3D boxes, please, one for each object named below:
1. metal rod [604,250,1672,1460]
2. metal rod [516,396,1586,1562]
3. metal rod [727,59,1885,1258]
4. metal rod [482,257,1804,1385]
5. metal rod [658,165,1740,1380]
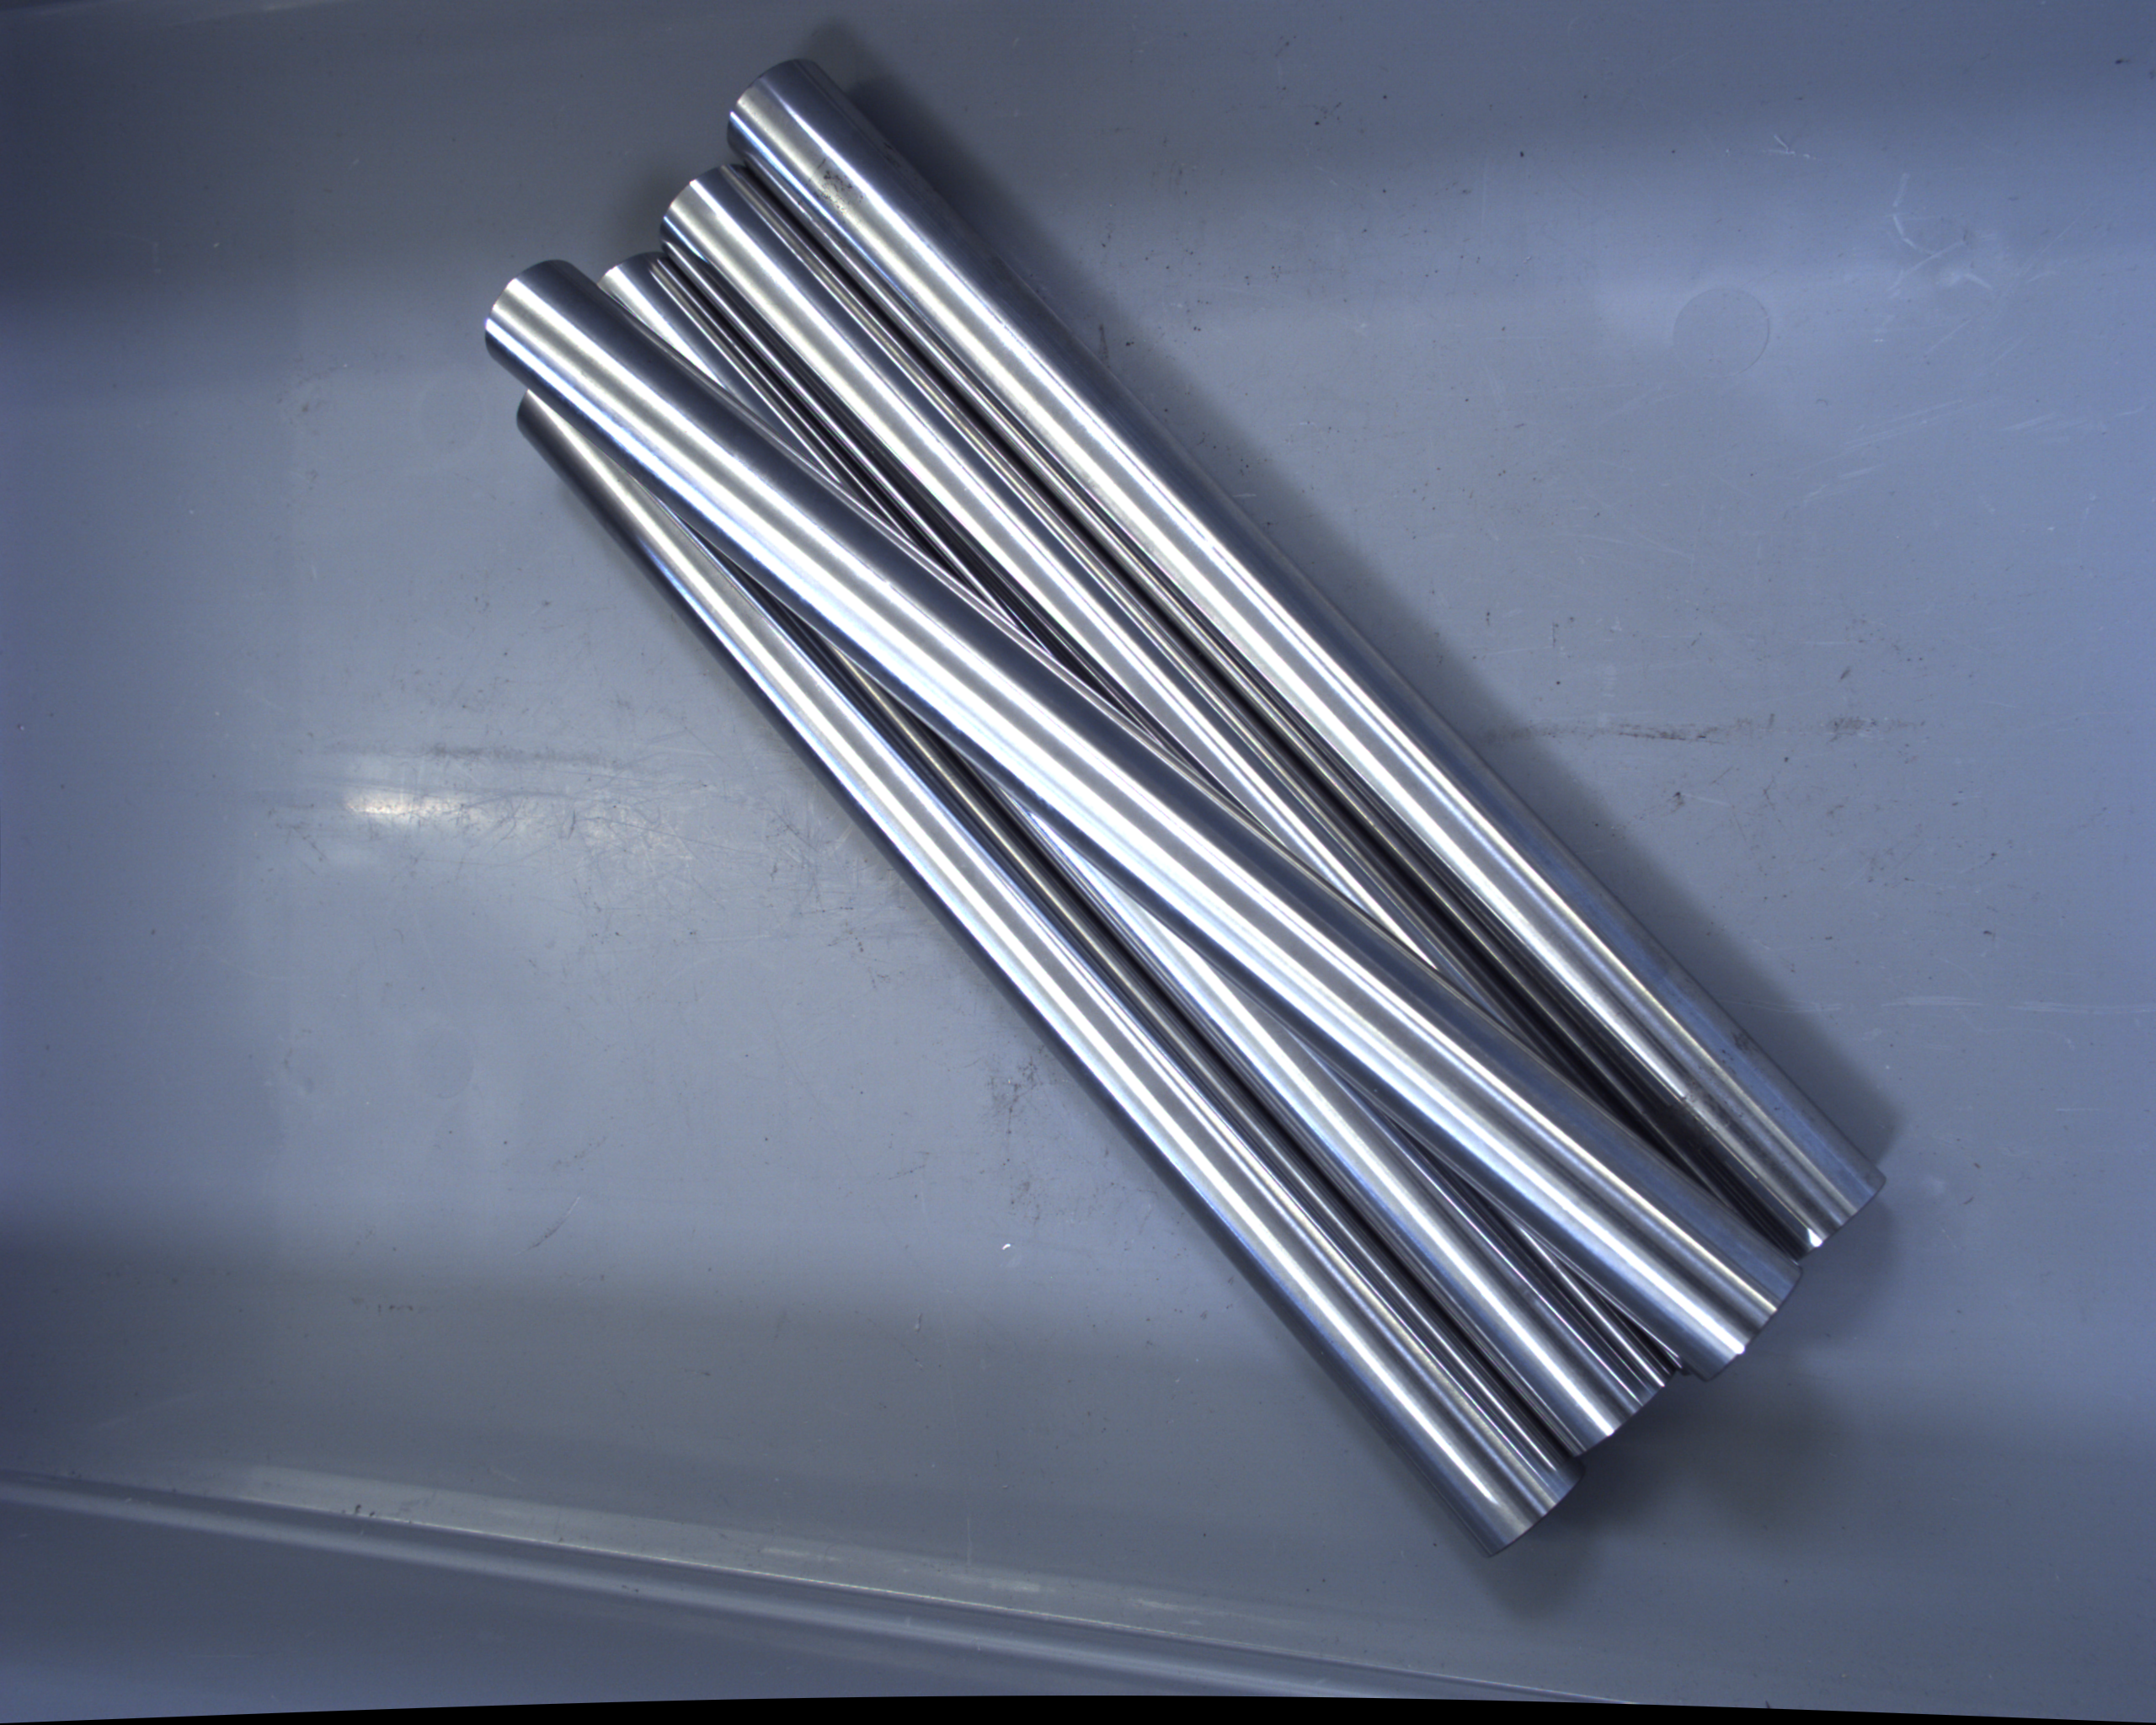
[{"bbox_3d":[0.001,-0.011,0.409,0.025,0.025,0.300,-45,76,14],"label":"metal rod"},{"bbox_3d":[-0.013,0.009,0.414,0.025,0.025,0.300,-45,76,14],"label":"metal rod"},{"bbox_3d":[0.034,-0.046,0.397,0.025,0.025,0.300,-45,76,14],"label":"metal rod"},{"bbox_3d":[0.000,-0.017,0.382,0.300,0.025,0.025,40,103,15],"label":"metal rod"},{"bbox_3d":[0.019,-0.026,0.402,0.025,0.025,0.300,-45,76,14],"label":"metal rod"}]
